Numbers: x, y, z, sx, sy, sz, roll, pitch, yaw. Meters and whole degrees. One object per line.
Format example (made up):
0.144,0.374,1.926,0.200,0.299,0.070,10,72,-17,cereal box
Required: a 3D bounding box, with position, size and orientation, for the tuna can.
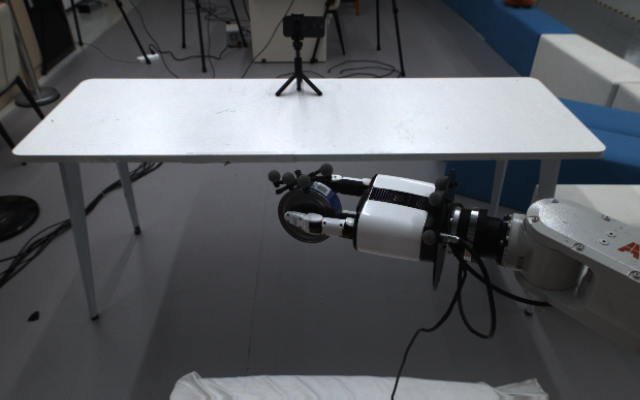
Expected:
-0.011,0.020,0.677,0.085,0.085,0.034,13,28,15,tuna can
